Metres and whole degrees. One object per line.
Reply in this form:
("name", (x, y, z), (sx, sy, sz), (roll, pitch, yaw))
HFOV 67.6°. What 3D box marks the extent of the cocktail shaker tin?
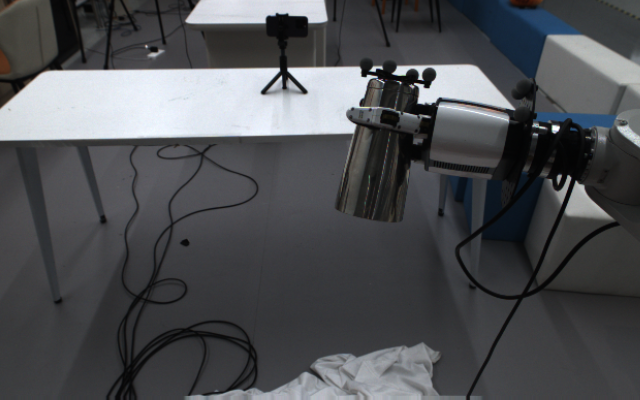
("cocktail shaker tin", (0.082, -0.068, 0.630), (0.093, 0.170, 0.093), (10, 9, -2))
